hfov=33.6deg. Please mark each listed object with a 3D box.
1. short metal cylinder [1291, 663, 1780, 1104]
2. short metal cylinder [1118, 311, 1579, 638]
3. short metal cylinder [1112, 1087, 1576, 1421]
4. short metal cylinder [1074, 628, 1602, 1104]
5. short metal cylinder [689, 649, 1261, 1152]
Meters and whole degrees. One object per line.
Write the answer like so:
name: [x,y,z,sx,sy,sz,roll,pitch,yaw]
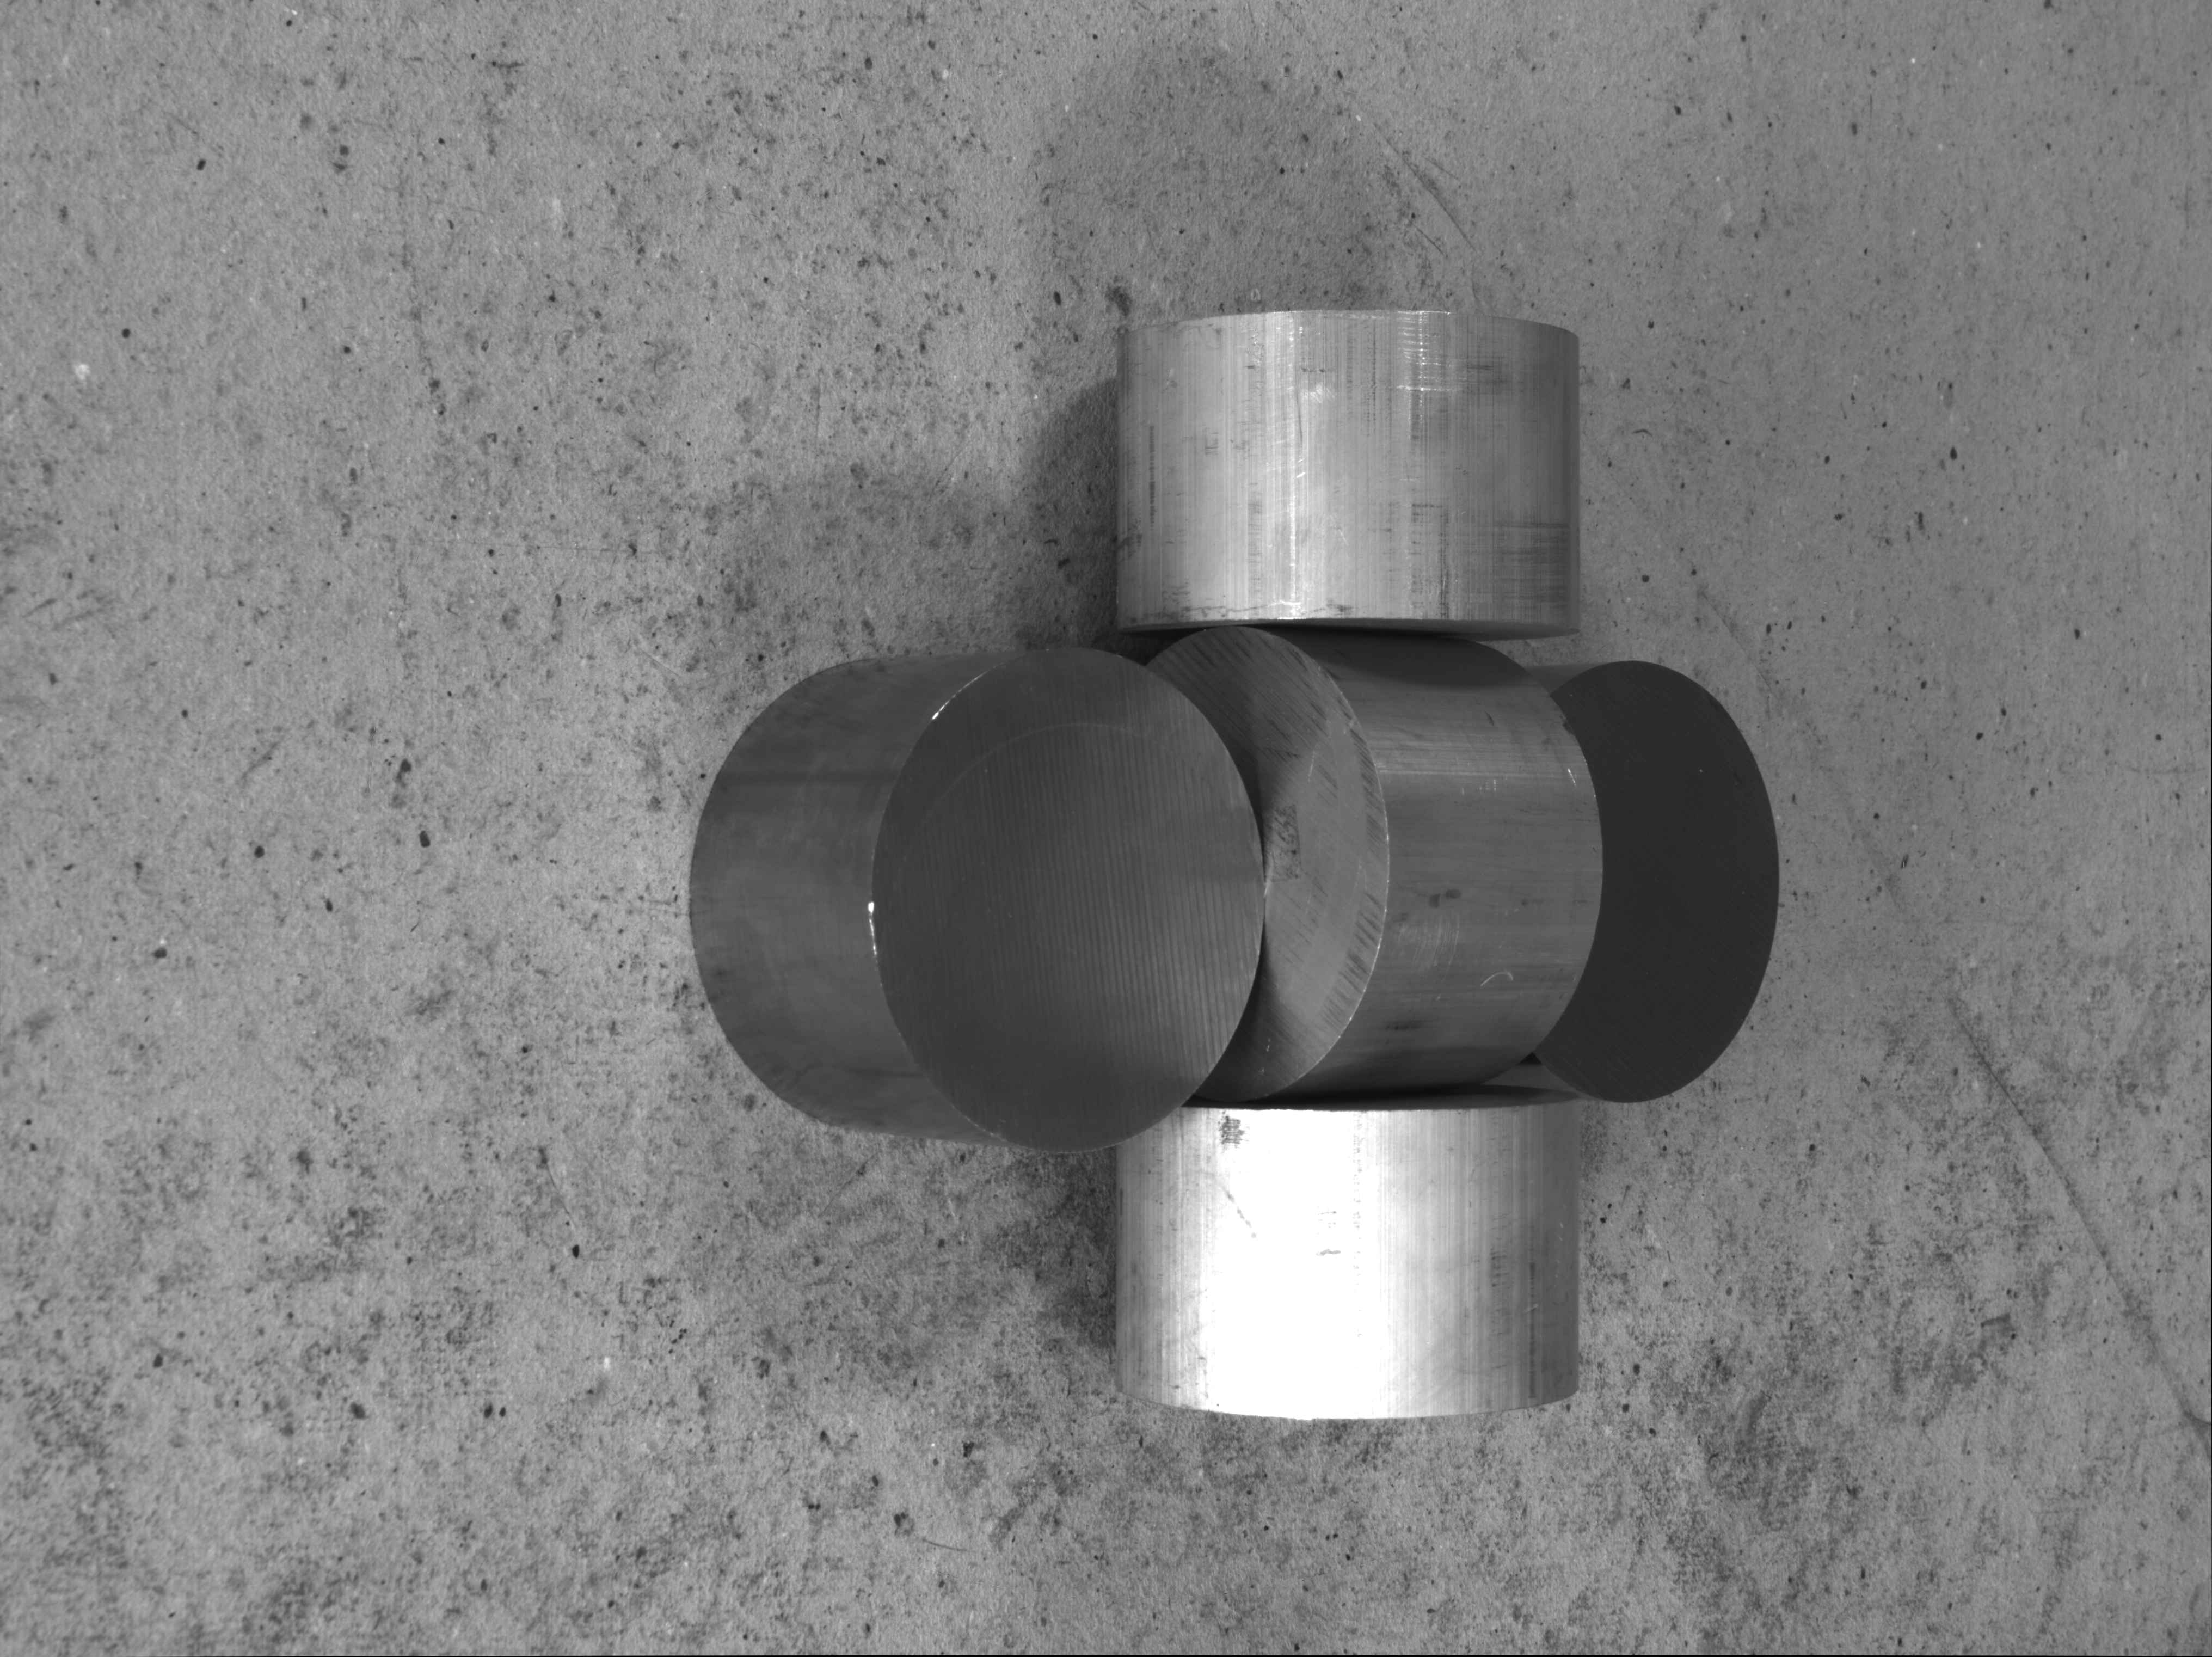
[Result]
short metal cylinder: [0.080,0.010,0.686,0.080,0.050,0.080,0,90,-40]
short metal cylinder: [0.042,-0.059,0.636,0.080,0.080,0.050,0,90,-40]
short metal cylinder: [0.041,0.072,0.635,0.080,0.080,0.050,0,89,-40]
short metal cylinder: [0.039,0.007,0.633,0.050,0.080,0.080,1,89,-39]
short metal cylinder: [-0.021,0.012,0.602,0.080,0.050,0.080,0,89,-40]
